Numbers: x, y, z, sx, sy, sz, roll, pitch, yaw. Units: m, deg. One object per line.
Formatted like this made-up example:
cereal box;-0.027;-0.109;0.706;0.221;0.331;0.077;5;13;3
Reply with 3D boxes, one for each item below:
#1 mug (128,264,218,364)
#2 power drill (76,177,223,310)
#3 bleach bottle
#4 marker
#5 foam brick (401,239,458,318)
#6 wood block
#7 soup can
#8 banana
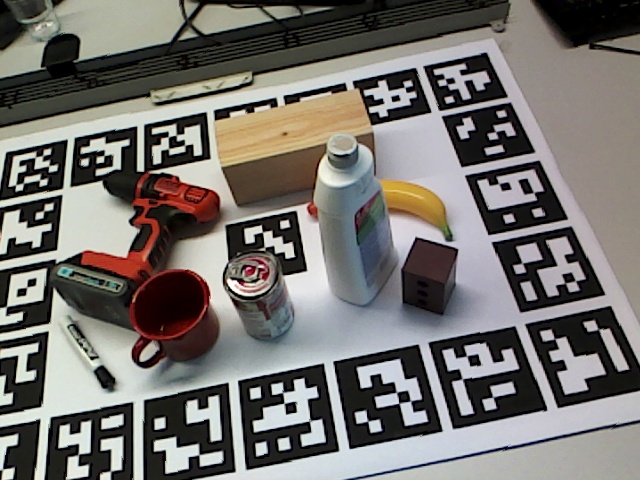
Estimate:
mug;-0.178;0.098;0.742;0.094;0.081;0.117;27;67;22
power drill;-0.246;0.000;0.843;0.185;0.057;0.187;14;58;14
bleach bottle;0.034;-0.025;0.691;0.068;0.250;0.102;13;57;18
marker;-0.287;0.142;0.771;0.019;0.019;0.122;-38;59;-14
foam brick;0.130;0.046;0.734;0.053;0.078;0.051;16;58;21
wood block;-0.032;-0.124;0.870;0.206;0.090;0.090;-13;56;0
soup can;-0.075;0.063;0.731;0.068;0.101;0.068;-4;51;5
banana;0.064;-0.057;0.834;0.198;0.039;0.074;2;70;8
